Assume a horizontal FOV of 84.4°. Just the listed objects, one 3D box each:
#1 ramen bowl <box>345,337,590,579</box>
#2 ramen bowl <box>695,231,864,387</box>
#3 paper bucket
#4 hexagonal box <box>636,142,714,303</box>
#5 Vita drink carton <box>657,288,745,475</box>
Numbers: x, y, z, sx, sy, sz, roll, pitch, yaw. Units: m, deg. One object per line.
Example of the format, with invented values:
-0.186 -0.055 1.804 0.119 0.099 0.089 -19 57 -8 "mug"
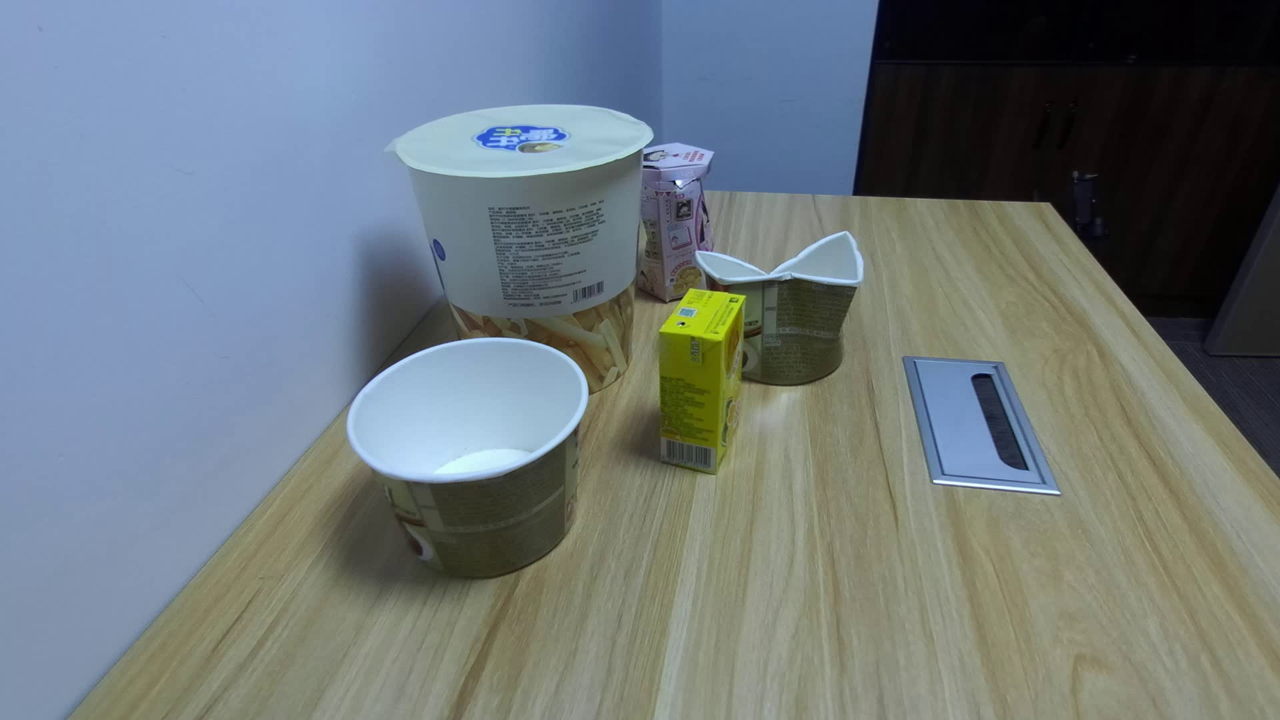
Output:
-0.098 0.061 0.440 0.140 0.095 0.140 -1 33 1 "ramen bowl"
0.112 -0.047 0.591 0.128 0.093 0.111 2 34 5 "ramen bowl"
-0.080 -0.084 0.570 0.198 0.195 0.198 -1 32 1 "paper bucket"
0.030 -0.134 0.697 0.091 0.135 0.089 -24 35 -29 "hexagonal box"
0.043 0.014 0.486 0.043 0.109 0.067 10 35 18 "Vita drink carton"
